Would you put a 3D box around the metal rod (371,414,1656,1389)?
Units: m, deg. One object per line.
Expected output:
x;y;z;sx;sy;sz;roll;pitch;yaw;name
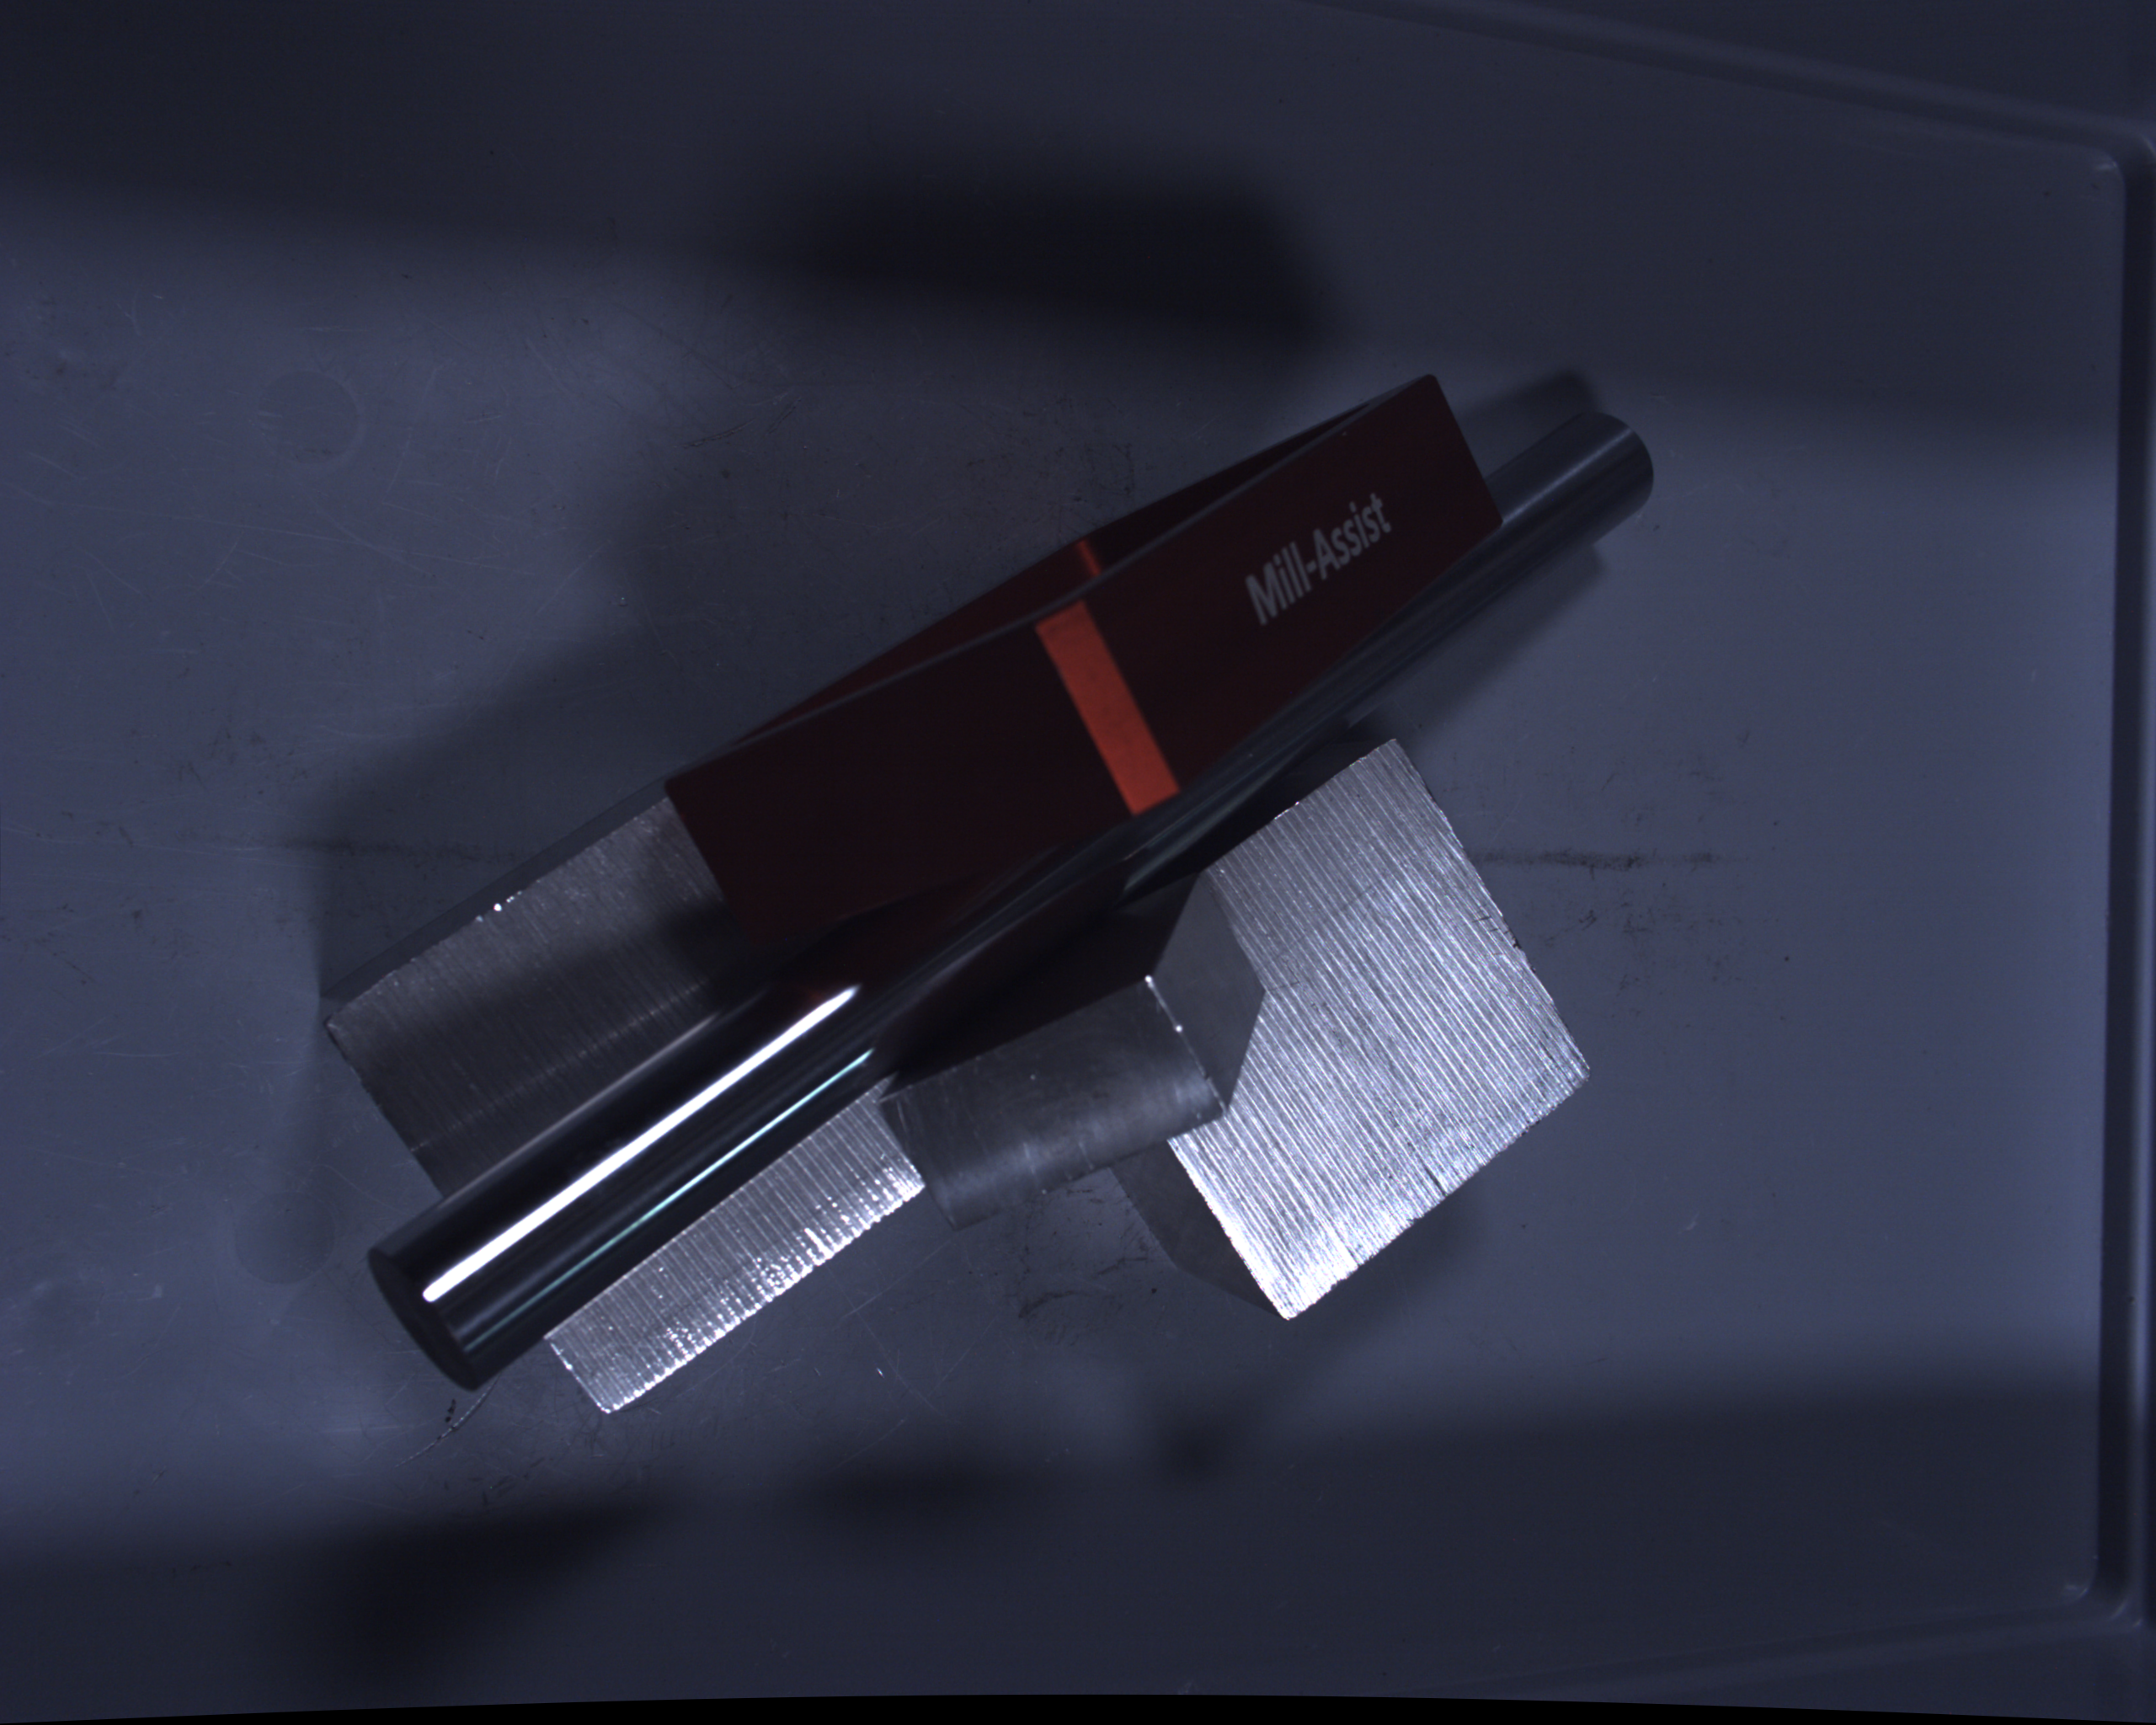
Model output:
0.011;-0.011;0.375;0.302;0.025;0.025;-36;102;-32;metal rod

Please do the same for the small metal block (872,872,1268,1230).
0.000;0.030;0.345;0.050;0.050;0.025;-25;101;19;small metal block

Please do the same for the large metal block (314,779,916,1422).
-0.075;0.036;0.367;0.080;0.050;0.080;-35;102;-17;large metal block

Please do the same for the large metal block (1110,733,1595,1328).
0.040;0.031;0.412;0.080;0.050;0.080;-35;102;-17;large metal block

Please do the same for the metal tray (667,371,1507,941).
0.006;-0.037;0.349;0.131;0.090;0.030;-40;107;-49;metal tray
